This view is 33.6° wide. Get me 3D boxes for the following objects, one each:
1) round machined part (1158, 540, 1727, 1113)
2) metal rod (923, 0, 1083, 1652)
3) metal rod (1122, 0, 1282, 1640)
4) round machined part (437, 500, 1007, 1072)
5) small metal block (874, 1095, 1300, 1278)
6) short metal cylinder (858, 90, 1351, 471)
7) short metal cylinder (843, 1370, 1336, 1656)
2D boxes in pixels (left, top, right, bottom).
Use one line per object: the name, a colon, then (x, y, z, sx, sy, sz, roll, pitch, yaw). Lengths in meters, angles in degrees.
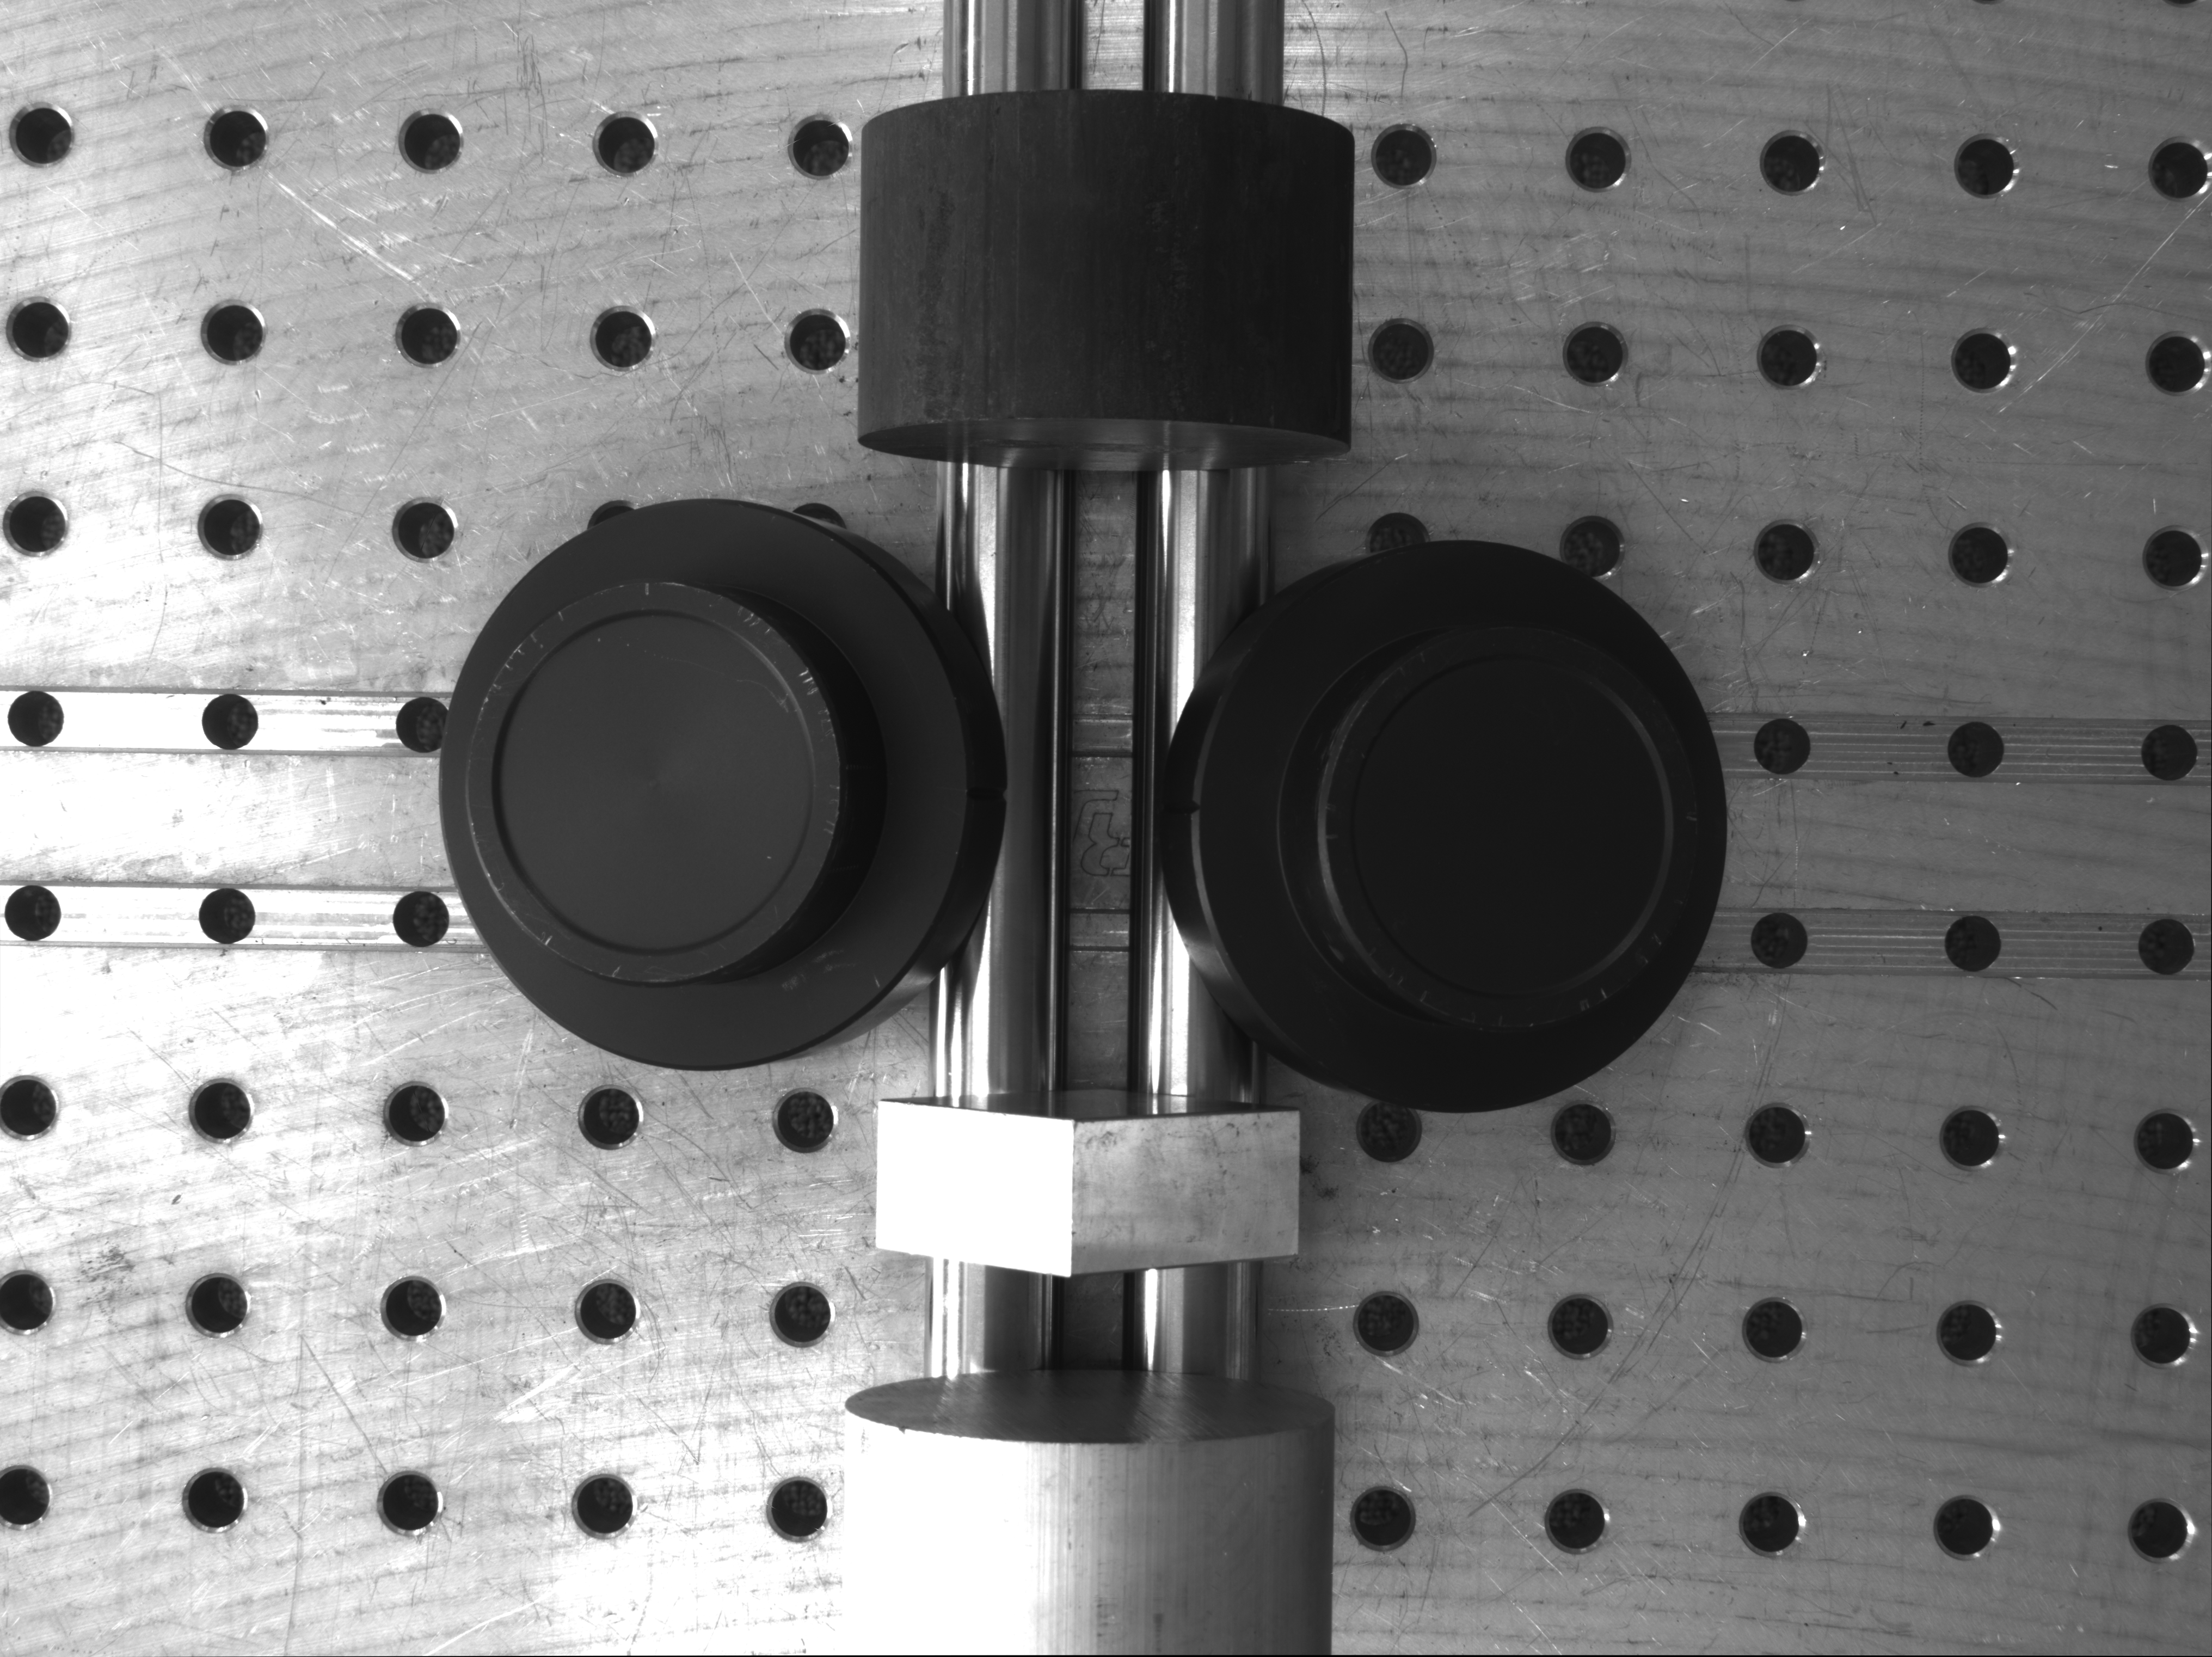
round machined part: (0.061, 0.000, 0.626, 0.098, 0.042, 0.098, 0, 90, -15)
metal rod: (-0.018, -0.004, 0.647, 0.025, 0.025, 0.300, 1, 90, 0)
metal rod: (0.017, -0.006, 0.647, 0.025, 0.025, 0.300, 1, 90, 0)
round machined part: (-0.070, -0.007, 0.627, 0.098, 0.042, 0.098, 0, 90, 14)
small metal block: (-0.003, 0.059, 0.612, 0.050, 0.050, 0.025, 2, 89, -41)
short metal cylinder: (0.000, -0.087, 0.598, 0.080, 0.080, 0.050, 1, 90, 0)
short metal cylinder: (-0.003, 0.119, 0.598, 0.080, 0.080, 0.050, 1, 90, 0)
